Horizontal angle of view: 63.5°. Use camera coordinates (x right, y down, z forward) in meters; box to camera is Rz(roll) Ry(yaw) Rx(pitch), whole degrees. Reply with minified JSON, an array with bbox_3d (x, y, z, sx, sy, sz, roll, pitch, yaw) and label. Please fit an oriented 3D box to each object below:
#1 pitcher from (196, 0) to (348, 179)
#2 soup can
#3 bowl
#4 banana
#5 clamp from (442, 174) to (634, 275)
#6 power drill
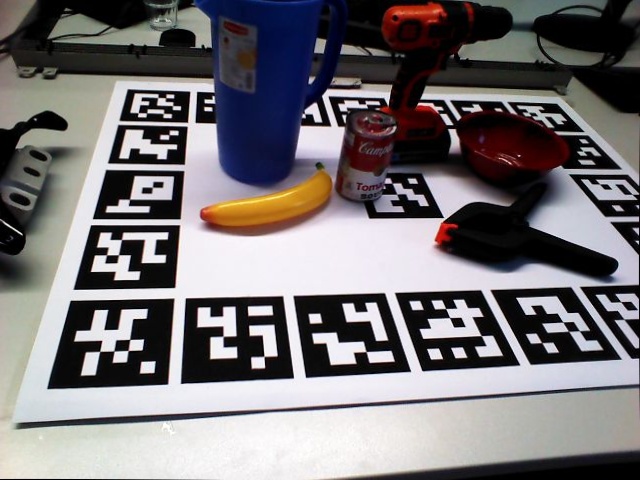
[{"bbox_3d":[-0.055,-0.204,0.637,0.188,0.243,0.133,-20,47,-27],"label":"pitcher"},{"bbox_3d":[0.065,-0.113,0.662,0.068,0.102,0.067,3,35,-3],"label":"soup can"},{"bbox_3d":[0.281,-0.130,0.744,0.162,0.055,0.160,4,44,-4],"label":"bowl"},{"bbox_3d":[-0.053,-0.052,0.628,0.196,0.039,0.074,-20,41,-29],"label":"banana"},{"bbox_3d":[0.246,-0.019,0.623,0.202,0.037,0.164,-3,48,-12],"label":"clamp"},{"bbox_3d":[0.173,-0.228,0.709,0.184,0.188,0.057,-5,45,-14],"label":"power drill"}]
